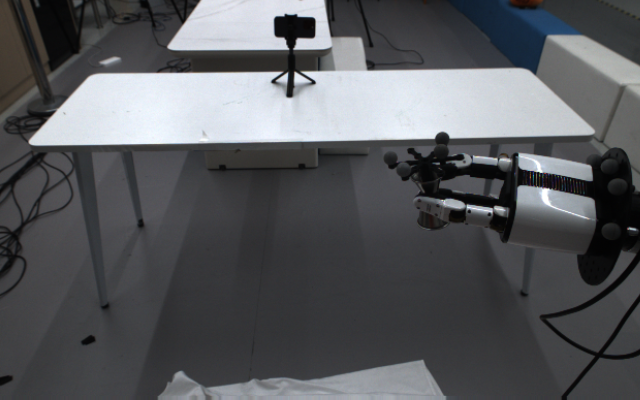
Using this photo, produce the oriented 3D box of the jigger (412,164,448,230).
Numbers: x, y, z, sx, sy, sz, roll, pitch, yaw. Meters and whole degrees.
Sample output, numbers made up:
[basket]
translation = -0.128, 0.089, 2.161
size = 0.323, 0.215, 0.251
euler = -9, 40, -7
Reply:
[jigger]
translation = 0.138, -0.002, 0.602
size = 0.043, 0.071, 0.043
euler = -12, 29, 7
